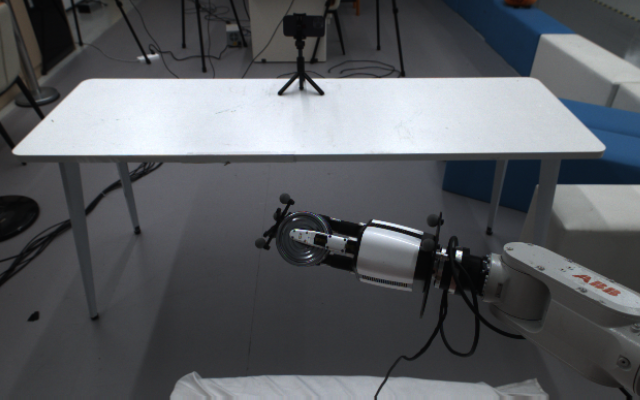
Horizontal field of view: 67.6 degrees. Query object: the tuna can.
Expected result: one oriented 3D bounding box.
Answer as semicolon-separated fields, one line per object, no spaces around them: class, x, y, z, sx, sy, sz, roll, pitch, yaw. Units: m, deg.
tuna can;-0.021;0.063;0.741;0.085;0.085;0.034;9;-4;10
